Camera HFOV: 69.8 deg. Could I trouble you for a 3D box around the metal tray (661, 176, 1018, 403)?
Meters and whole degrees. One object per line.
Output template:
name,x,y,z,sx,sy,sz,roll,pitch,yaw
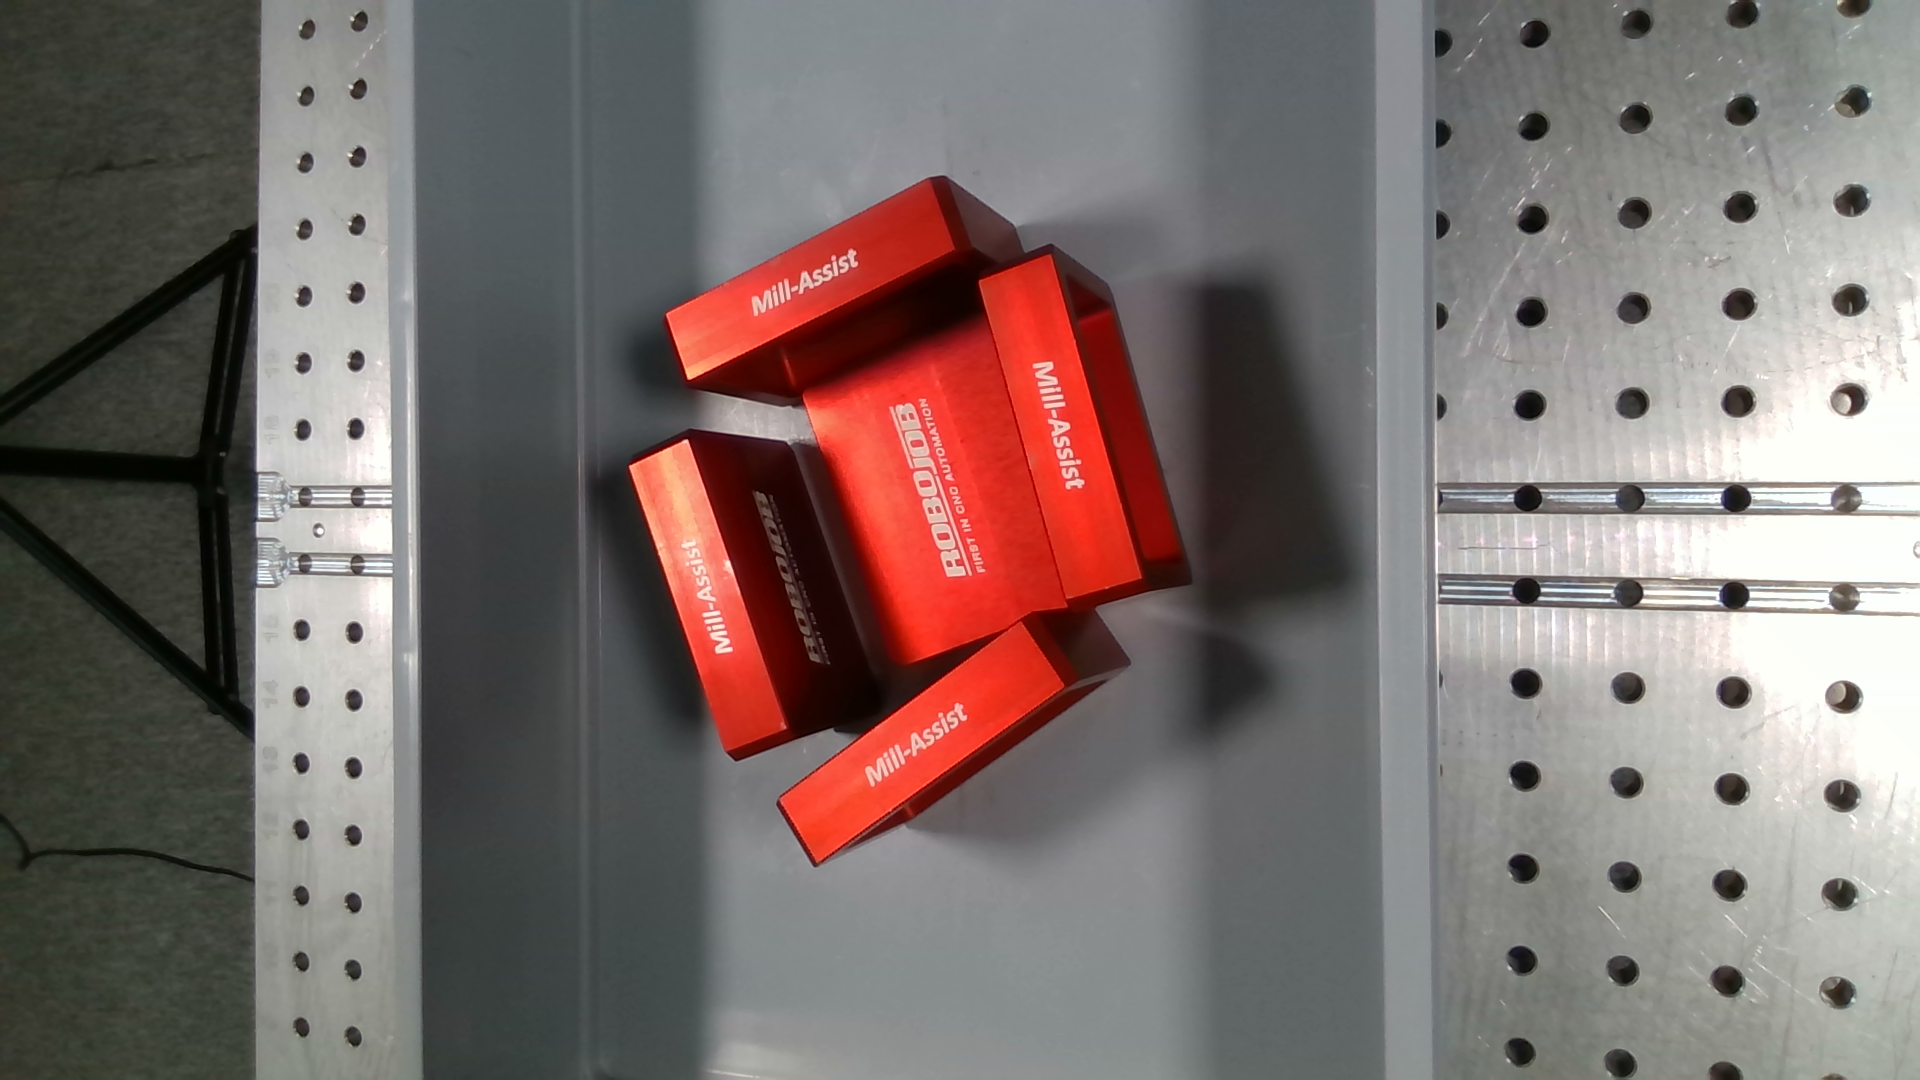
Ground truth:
metal tray,-0.044,-0.097,0.564,0.130,0.090,0.030,-22,83,19

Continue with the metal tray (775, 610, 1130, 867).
metal tray,-0.001,0.077,0.551,0.130,0.090,0.030,-38,77,17

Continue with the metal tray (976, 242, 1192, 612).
metal tray,0.050,-0.041,0.530,0.030,0.090,0.130,-17,85,20

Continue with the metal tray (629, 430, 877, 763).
metal tray,-0.084,0.022,0.581,0.030,0.090,0.130,-22,83,19

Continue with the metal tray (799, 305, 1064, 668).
metal tray,-0.005,-0.021,0.582,0.090,0.030,0.130,-21,83,19
